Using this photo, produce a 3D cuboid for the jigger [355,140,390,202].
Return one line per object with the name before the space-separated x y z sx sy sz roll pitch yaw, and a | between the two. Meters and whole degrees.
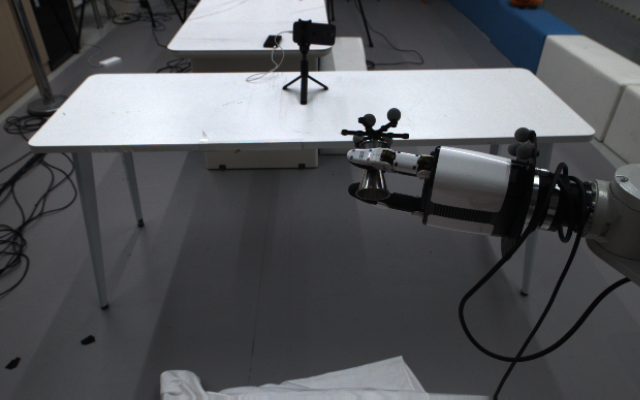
jigger | 0.068 -0.039 0.625 0.043 0.043 0.071 4 71 2
